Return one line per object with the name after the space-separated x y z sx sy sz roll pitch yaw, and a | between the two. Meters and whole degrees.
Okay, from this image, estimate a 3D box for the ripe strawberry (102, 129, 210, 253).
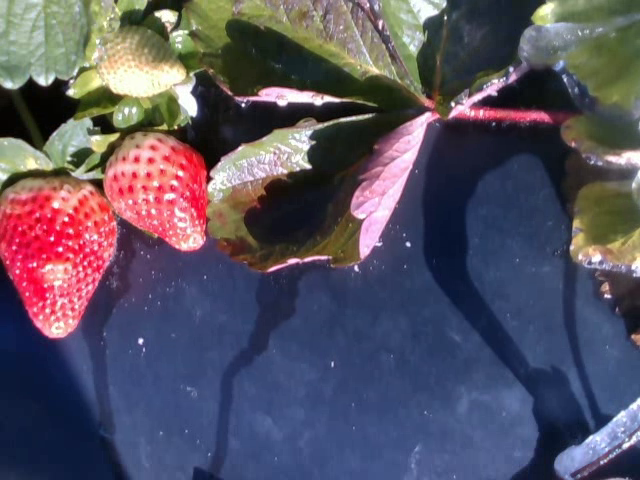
-0.045 -0.013 0.178 0.036 0.041 0.030 -41 3 36 | ripe strawberry

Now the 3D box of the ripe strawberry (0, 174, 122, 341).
-0.078 0.009 0.183 0.037 0.051 0.040 -13 -14 28 | ripe strawberry
